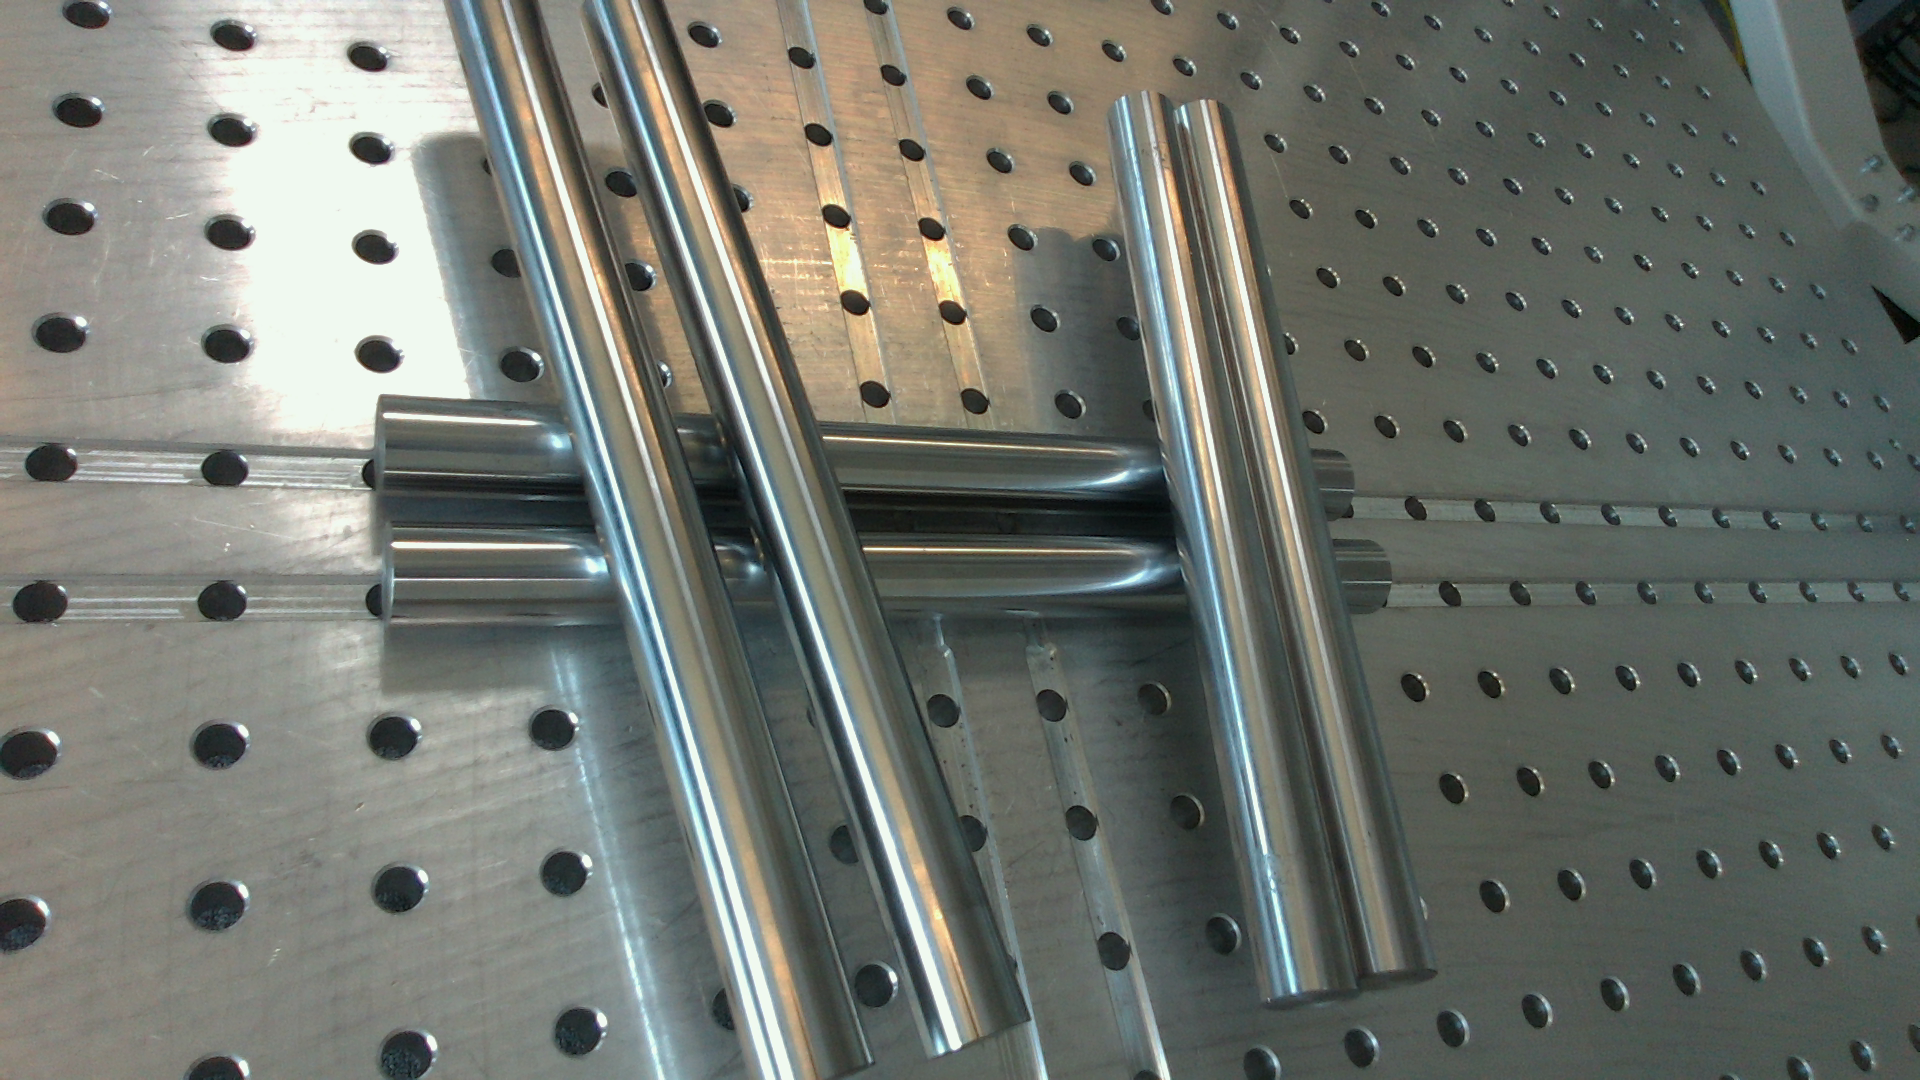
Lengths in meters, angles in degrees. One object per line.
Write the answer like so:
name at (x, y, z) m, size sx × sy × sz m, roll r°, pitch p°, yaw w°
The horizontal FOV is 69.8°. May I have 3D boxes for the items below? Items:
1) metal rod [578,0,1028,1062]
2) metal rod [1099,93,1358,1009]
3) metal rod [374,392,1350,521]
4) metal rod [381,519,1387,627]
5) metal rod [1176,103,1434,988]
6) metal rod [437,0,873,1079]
metal rod at (-0.048, -0.023, 0.349) m, size 0.025 × 0.025 × 0.300 m, roll -8°, pitch 66°, yaw -32°
metal rod at (0.073, -0.018, 0.411) m, size 0.025 × 0.025 × 0.300 m, roll 9°, pitch 58°, yaw -23°
metal rod at (-0.008, -0.021, 0.402) m, size 0.301 × 0.025 × 0.025 m, roll 1°, pitch 61°, yaw -28°
metal rod at (0.000, 0.010, 0.387) m, size 0.301 × 0.025 × 0.025 m, roll 1°, pitch 61°, yaw -28°
metal rod at (0.096, -0.018, 0.424) m, size 0.025 × 0.025 × 0.300 m, roll 9°, pitch 58°, yaw -23°
metal rod at (-0.081, -0.021, 0.330) m, size 0.025 × 0.025 × 0.300 m, roll -8°, pitch 66°, yaw -32°
